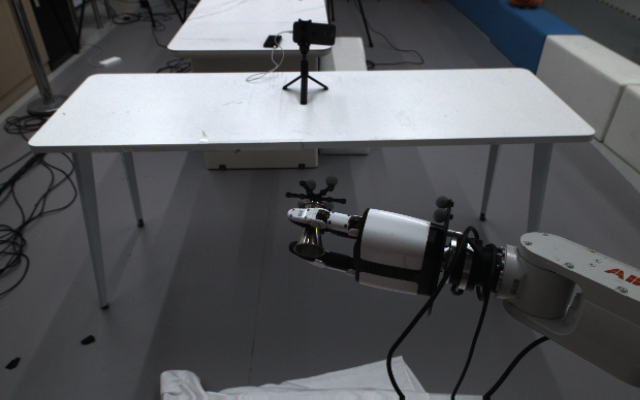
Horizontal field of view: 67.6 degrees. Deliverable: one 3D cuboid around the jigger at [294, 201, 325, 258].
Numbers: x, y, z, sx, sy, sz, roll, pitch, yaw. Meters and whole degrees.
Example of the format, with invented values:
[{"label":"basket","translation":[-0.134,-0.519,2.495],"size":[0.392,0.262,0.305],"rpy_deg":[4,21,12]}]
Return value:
[{"label":"jigger","translation":[-0.015,0.039,0.683],"size":[0.043,0.043,0.071],"rpy_deg":[6,61,5]}]
